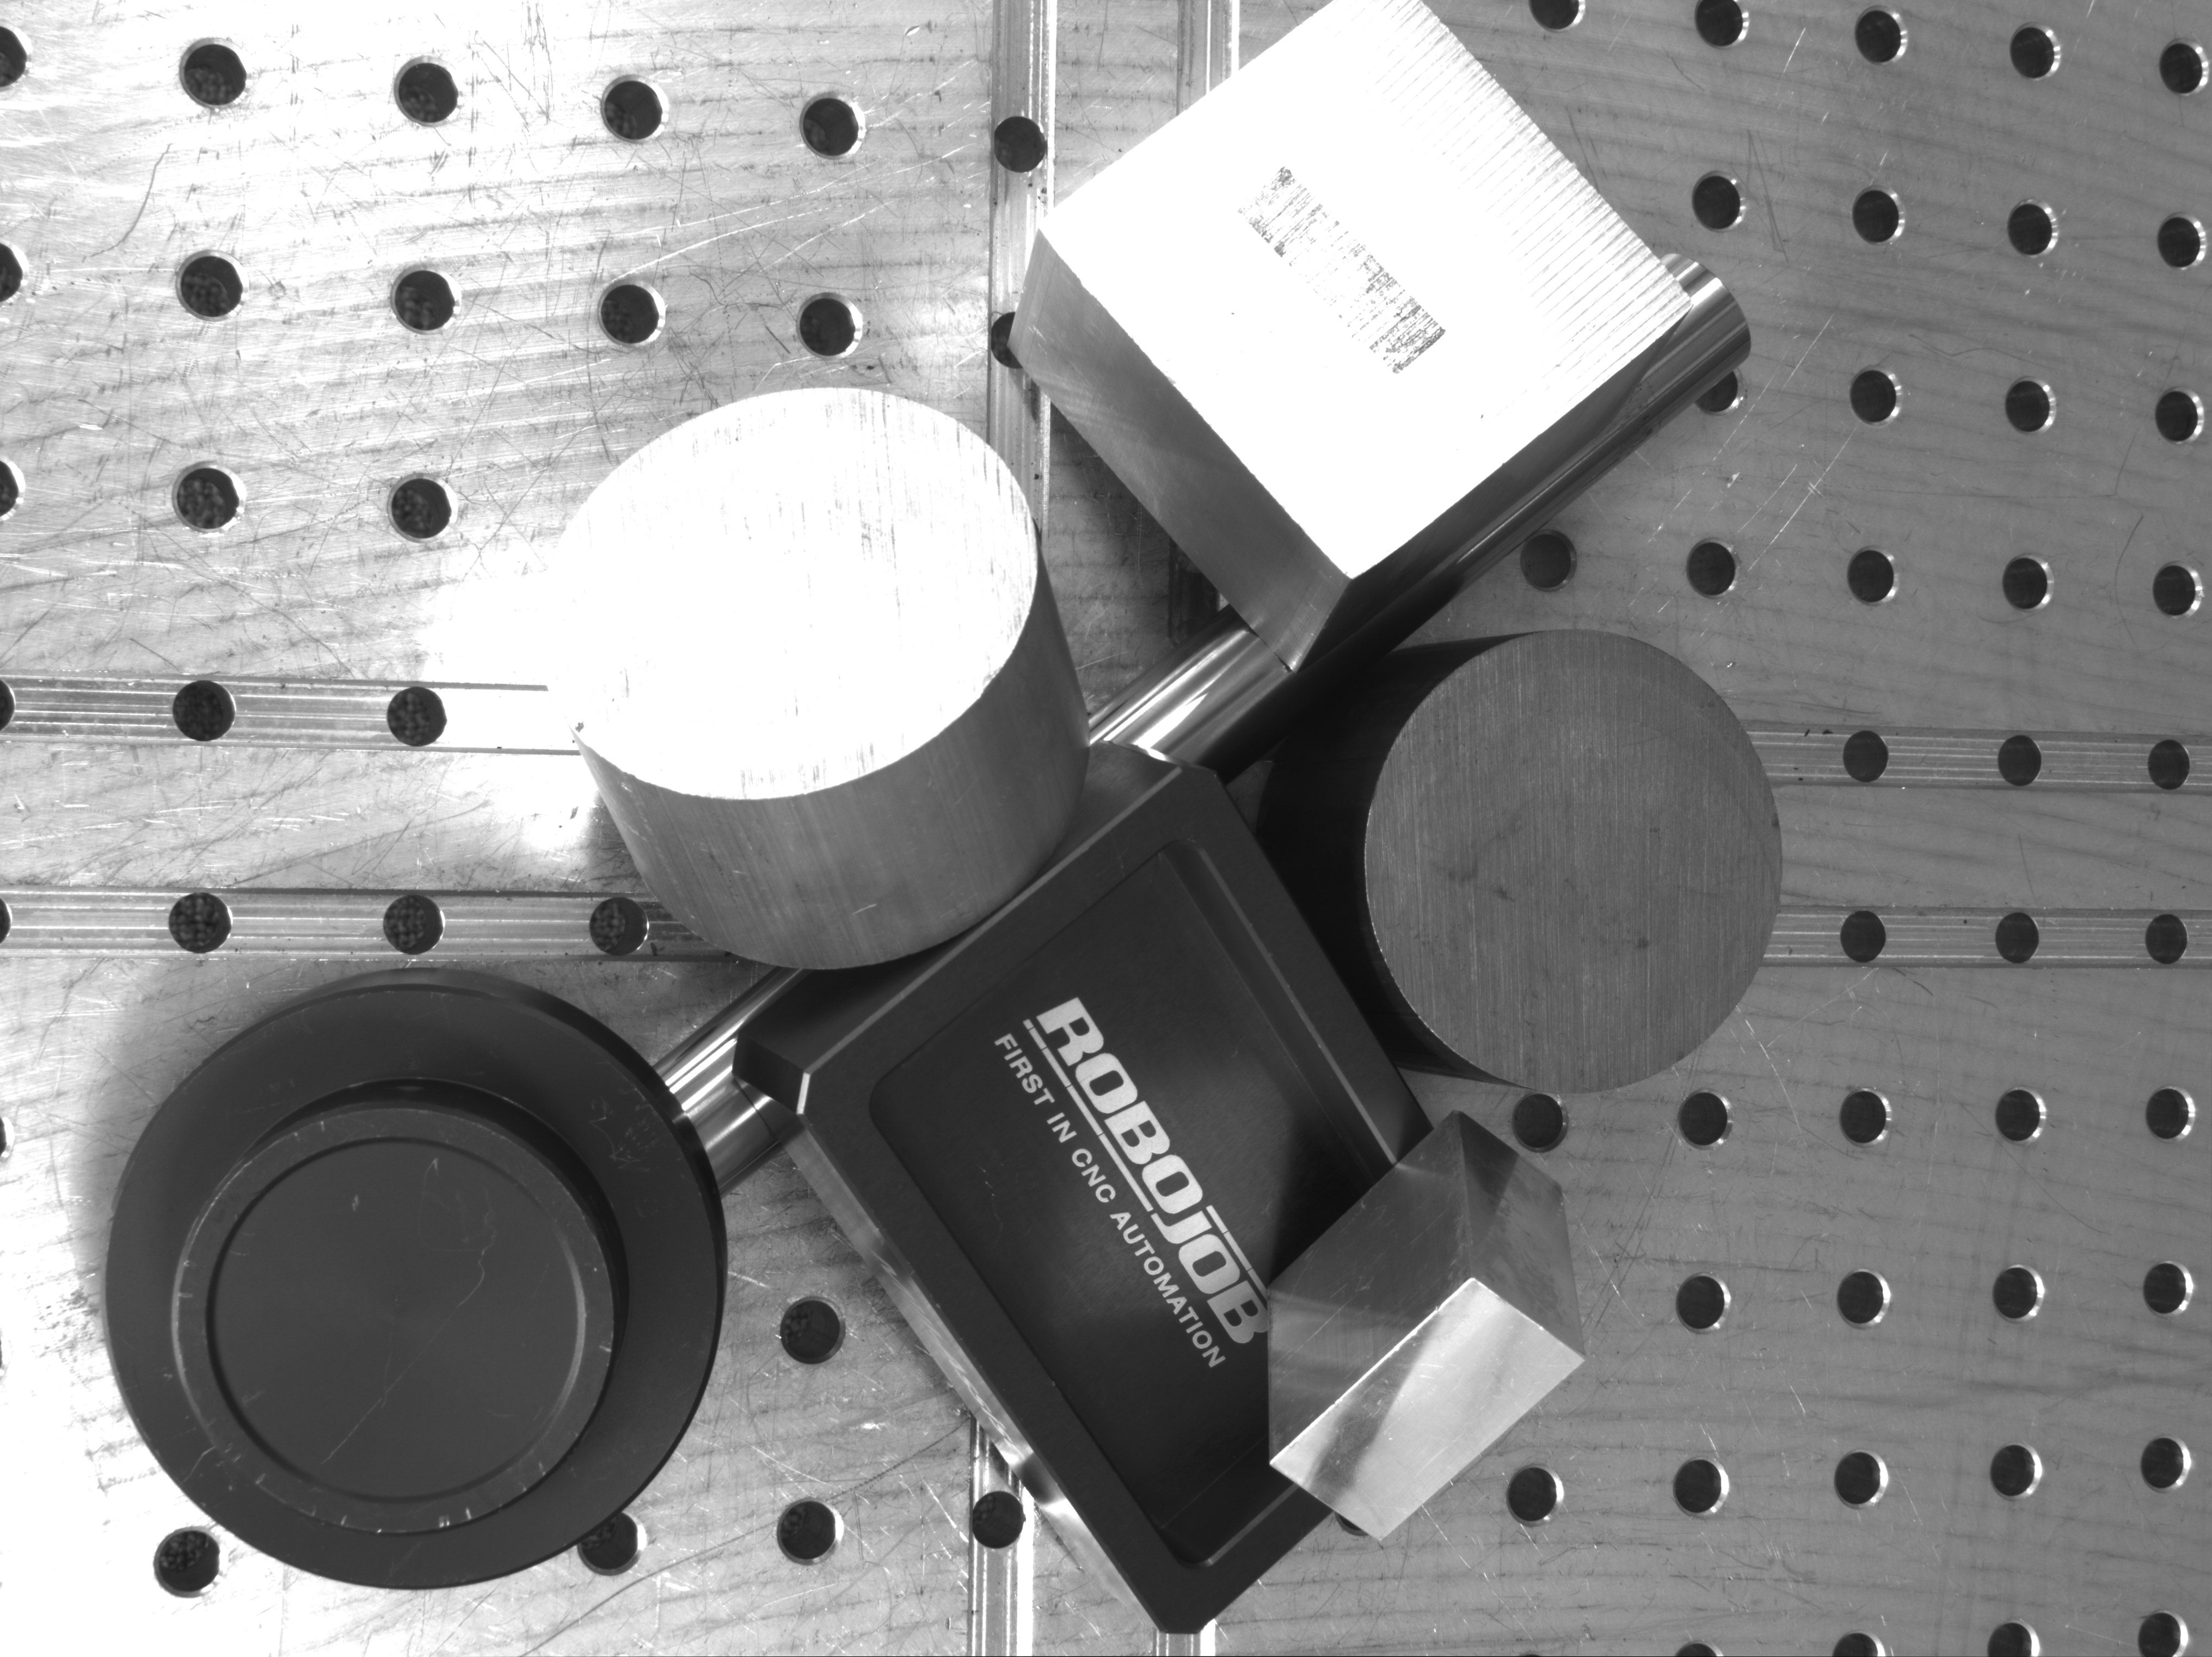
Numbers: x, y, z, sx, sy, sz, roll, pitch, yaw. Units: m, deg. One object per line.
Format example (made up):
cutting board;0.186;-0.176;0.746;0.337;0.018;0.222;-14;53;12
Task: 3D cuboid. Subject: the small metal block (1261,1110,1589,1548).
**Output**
small metal block;0.053;0.084;0.621;0.025;0.050;0.050;36;113;-18

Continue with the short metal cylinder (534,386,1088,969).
short metal cylinder;-0.046;-0.025;0.594;0.080;0.050;0.080;-5;56;8

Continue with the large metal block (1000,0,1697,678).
large metal block;0.040;-0.087;0.635;0.080;0.050;0.080;-39;82;-16

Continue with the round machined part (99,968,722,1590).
round machined part;-0.110;0.073;0.583;0.098;0.042;0.098;0;96;-4

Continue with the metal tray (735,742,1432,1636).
metal tray;0.008;0.062;0.631;0.090;0.030;0.130;-39;115;-15

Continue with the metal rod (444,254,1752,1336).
metal rod;-0.001;-0.005;0.647;0.300;0.025;0.025;-39;102;-15

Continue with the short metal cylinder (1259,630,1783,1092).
short metal cylinder;0.073;0.006;0.659;0.080;0.050;0.080;0;90;-20
